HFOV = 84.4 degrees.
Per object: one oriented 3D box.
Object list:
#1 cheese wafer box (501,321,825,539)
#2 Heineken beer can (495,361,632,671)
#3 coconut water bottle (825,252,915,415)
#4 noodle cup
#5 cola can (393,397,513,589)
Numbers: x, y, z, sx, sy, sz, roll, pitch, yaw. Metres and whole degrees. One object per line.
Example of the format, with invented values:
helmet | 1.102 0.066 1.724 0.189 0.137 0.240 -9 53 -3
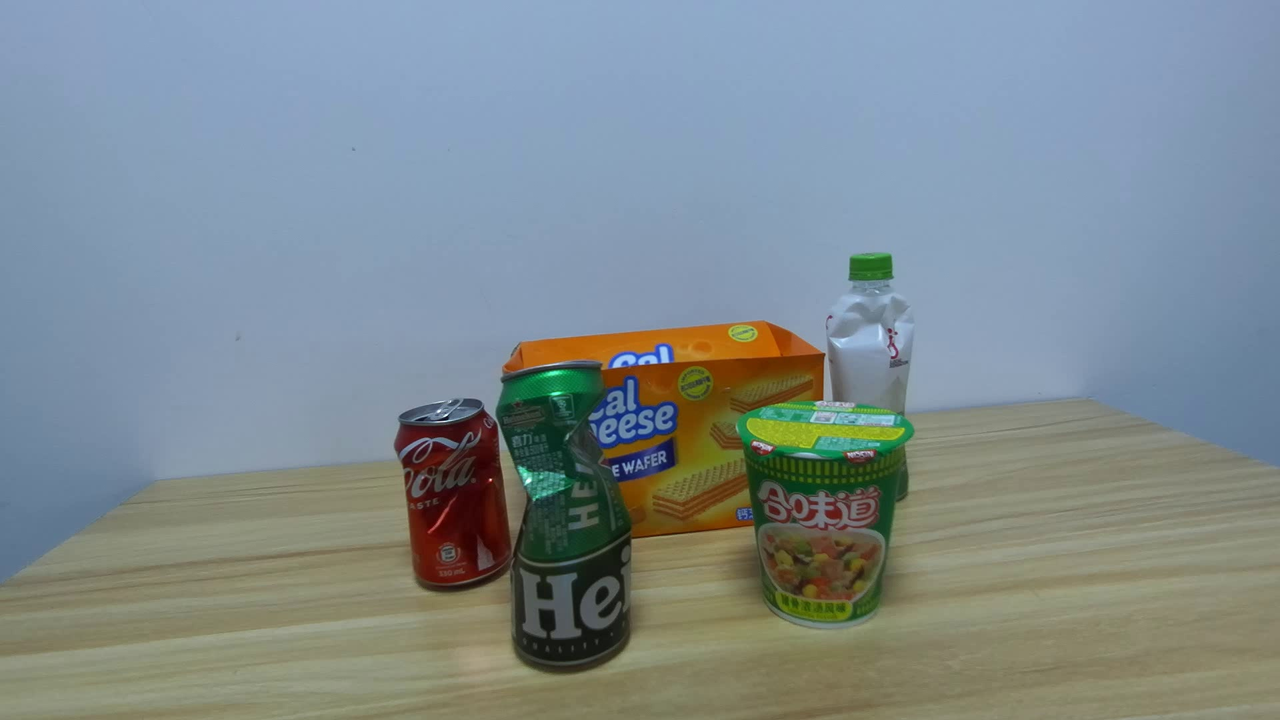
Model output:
cheese wafer box | 0.014 0.052 0.559 0.231 0.132 0.152 -3 13 -7
Heineken beer can | -0.039 0.081 0.381 0.067 0.159 0.078 -6 4 -31
coconut water bottle | 0.175 0.014 0.542 0.069 0.186 0.069 -3 12 1
noodle cup | 0.103 0.088 0.406 0.097 0.110 0.097 -2 15 1
cola can | -0.123 0.086 0.469 0.066 0.117 0.066 -7 13 -14
